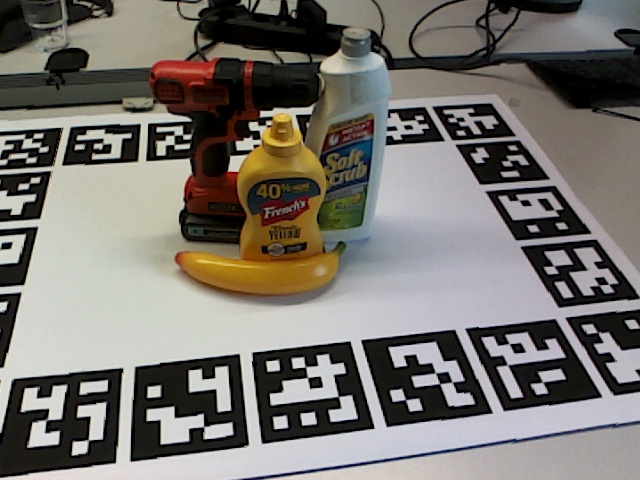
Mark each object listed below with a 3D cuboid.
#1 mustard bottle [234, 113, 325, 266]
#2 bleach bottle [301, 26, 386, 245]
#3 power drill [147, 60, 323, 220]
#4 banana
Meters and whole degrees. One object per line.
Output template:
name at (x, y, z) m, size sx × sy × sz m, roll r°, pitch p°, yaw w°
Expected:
mustard bottle at (-0.044, -0.050, 0.663) m, size 0.096 × 0.191 × 0.059 m, roll -3°, pitch 43°, yaw -9°
bleach bottle at (0.018, -0.112, 0.699) m, size 0.102 × 0.250 × 0.068 m, roll -2°, pitch 37°, yaw -6°
power drill at (-0.094, -0.110, 0.696) m, size 0.184 × 0.186 × 0.057 m, roll 5°, pitch 41°, yaw 0°
banana at (-0.063, 0.035, 0.696) m, size 0.197 × 0.039 × 0.074 m, roll -3°, pitch 44°, yaw -3°
